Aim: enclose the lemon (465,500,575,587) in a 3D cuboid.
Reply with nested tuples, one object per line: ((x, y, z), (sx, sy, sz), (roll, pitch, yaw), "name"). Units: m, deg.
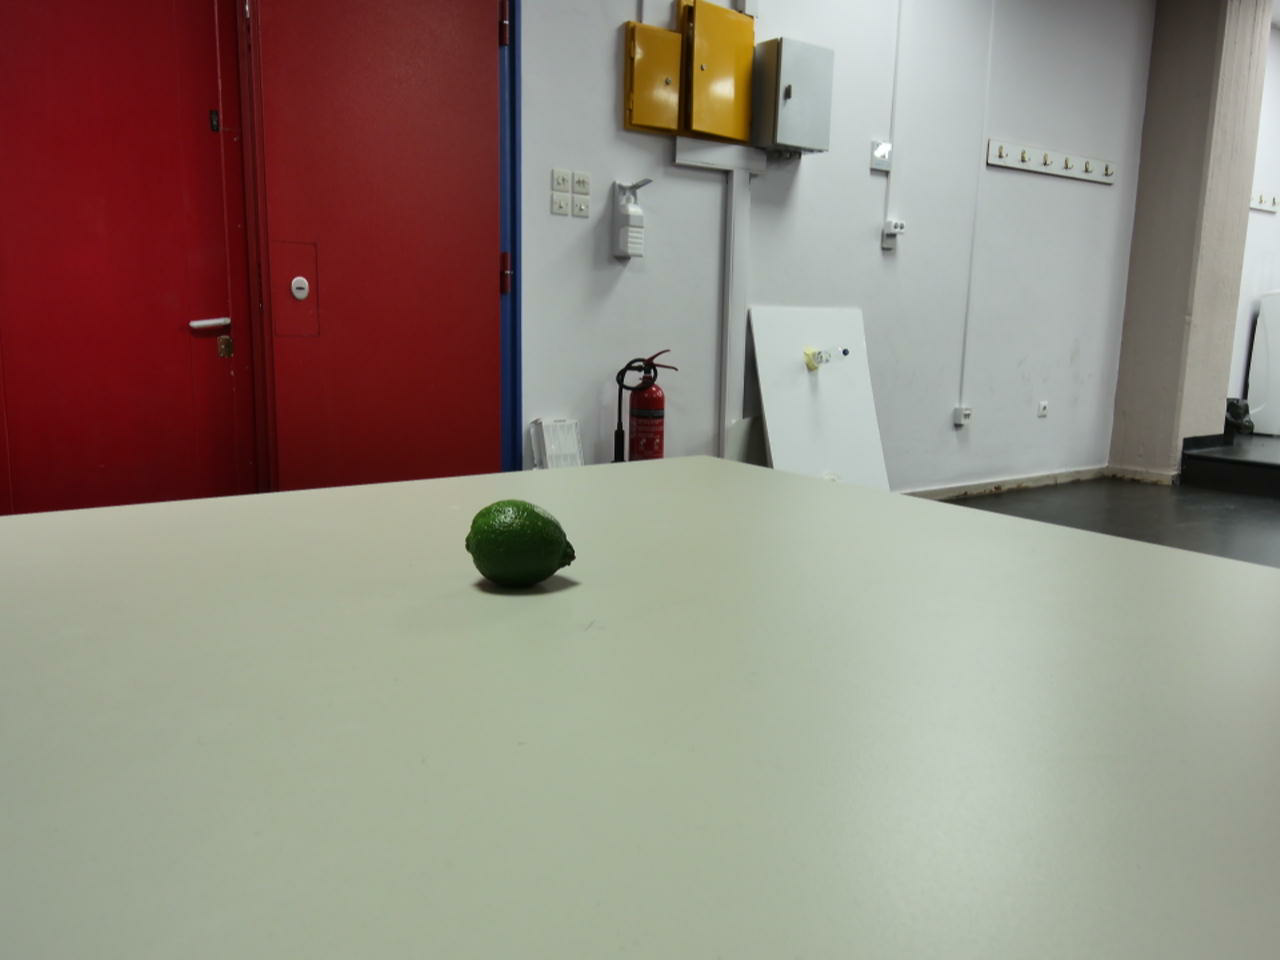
((-0.073, 0.037, 0.590), (0.057, 0.051, 0.054), (-6, 10, -39), "lemon")
